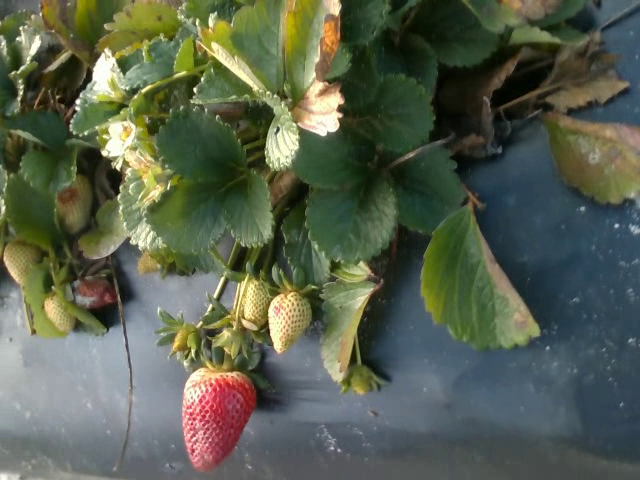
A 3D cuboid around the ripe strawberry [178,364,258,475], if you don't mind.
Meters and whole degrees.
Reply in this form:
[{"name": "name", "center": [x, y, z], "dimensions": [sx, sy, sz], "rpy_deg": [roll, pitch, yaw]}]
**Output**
[{"name": "ripe strawberry", "center": [-0.073, 0.121, 0.438], "dimensions": [0.052, 0.068, 0.044], "rpy_deg": [-2, -18, 26]}]
